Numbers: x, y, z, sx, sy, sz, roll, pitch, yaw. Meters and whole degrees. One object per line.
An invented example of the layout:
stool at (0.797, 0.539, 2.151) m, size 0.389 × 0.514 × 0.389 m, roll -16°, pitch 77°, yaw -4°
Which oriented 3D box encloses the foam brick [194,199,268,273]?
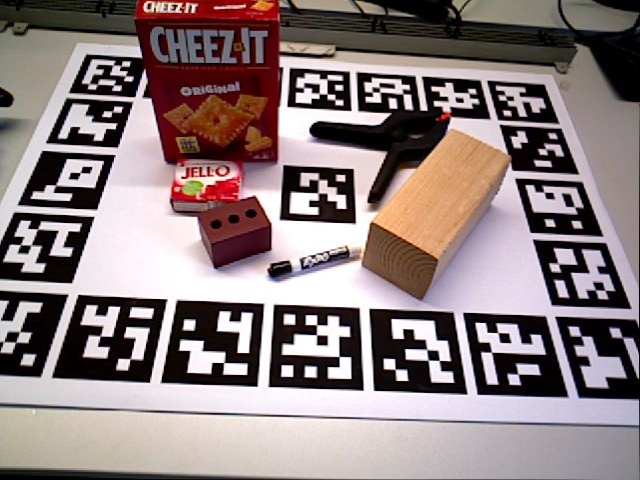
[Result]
foam brick at (-0.107, -0.005, 0.650) m, size 0.077 × 0.052 × 0.052 m, roll -18°, pitch 60°, yaw -16°

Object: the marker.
marker at (-0.020, 0.033, 0.648) m, size 0.119 × 0.020 × 0.019 m, roll -14°, pitch 59°, yaw -13°

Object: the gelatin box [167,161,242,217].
gelatin box at (-0.148, -0.066, 0.706) m, size 0.089 × 0.031 × 0.072 m, roll 2°, pitch 57°, yaw -3°

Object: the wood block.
wood block at (0.144, -0.030, 0.665) m, size 0.090 × 0.093 × 0.202 m, roll 31°, pitch 56°, yaw 19°

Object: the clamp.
clamp at (0.106, -0.140, 0.767) m, size 0.199 × 0.037 × 0.164 m, roll -24°, pitch 61°, yaw -19°

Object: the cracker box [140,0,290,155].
cracker box at (-0.125, -0.205, 0.681) m, size 0.163 × 0.218 × 0.071 m, roll 1°, pitch 53°, yaw -6°
